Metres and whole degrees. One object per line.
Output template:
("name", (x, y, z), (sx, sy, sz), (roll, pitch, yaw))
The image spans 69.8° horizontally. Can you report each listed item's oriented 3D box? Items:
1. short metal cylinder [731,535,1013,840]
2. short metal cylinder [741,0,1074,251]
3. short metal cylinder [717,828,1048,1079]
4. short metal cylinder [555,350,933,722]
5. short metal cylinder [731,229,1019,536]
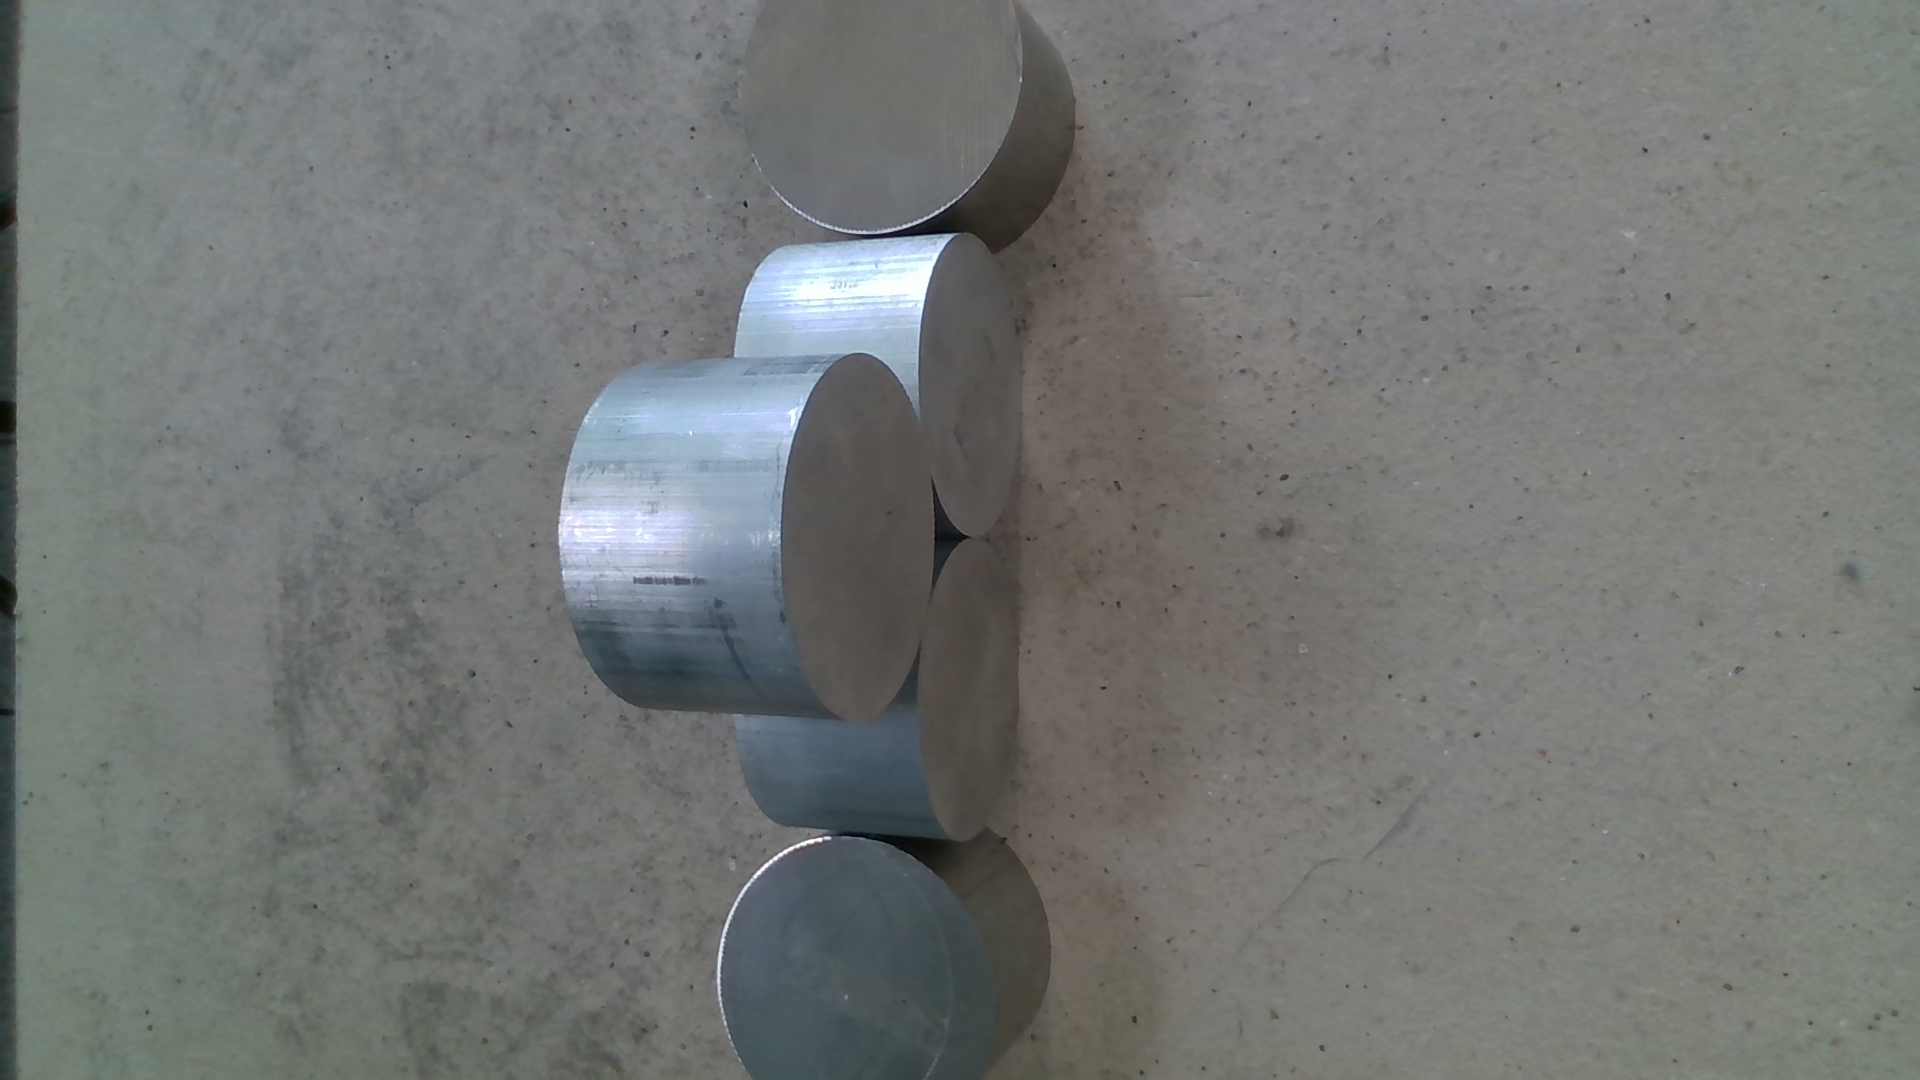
("short metal cylinder", (-0.021, 0.039, 0.373), (0.050, 0.080, 0.080), (0, 90, 19))
("short metal cylinder", (-0.014, -0.121, 0.385), (0.080, 0.050, 0.080), (0, 91, 20))
("short metal cylinder", (-0.021, 0.119, 0.389), (0.080, 0.050, 0.080), (0, 91, 21))
("short metal cylinder", (-0.044, -0.001, 0.307), (0.050, 0.080, 0.080), (1, 90, 21))
("short metal cylinder", (-0.020, -0.041, 0.372), (0.050, 0.080, 0.080), (0, 90, 20))
